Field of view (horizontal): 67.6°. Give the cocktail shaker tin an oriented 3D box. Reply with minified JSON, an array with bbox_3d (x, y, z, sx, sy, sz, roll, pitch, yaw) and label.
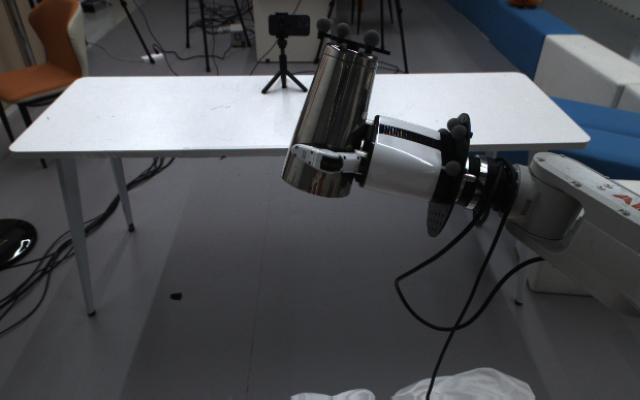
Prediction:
[{"bbox_3d":[0.017,-0.099,0.598,0.093,0.170,0.093,14,20,-5],"label":"cocktail shaker tin"}]
